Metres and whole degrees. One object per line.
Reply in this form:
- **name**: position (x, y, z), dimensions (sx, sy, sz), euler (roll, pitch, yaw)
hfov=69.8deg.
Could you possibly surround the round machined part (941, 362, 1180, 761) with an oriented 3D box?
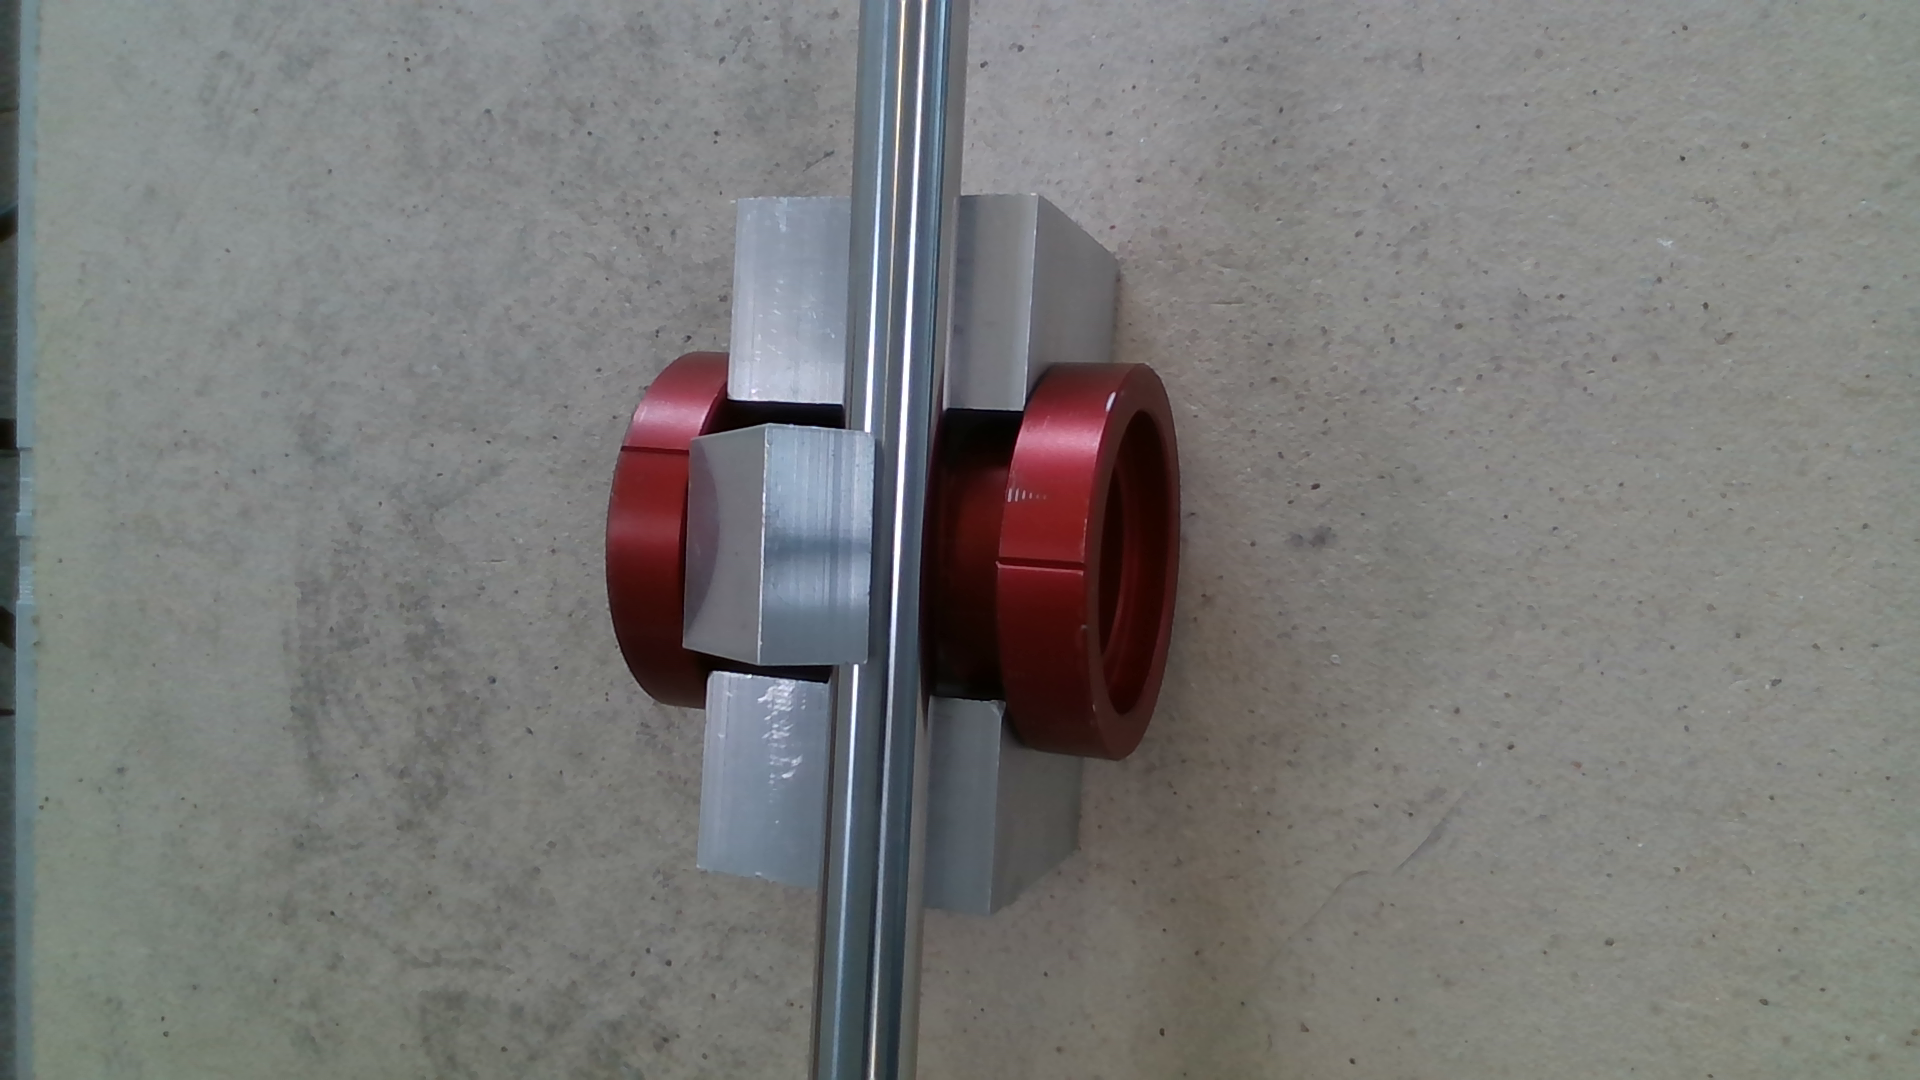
- **round machined part**: position (0.025, 0.004, 0.346), dimensions (0.042, 0.098, 0.098), euler (4, 92, 21)

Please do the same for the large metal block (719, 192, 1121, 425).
- **large metal block**: position (-0.007, -0.058, 0.367), dimensions (0.080, 0.080, 0.050), euler (5, 92, 20)

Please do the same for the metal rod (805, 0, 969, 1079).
- **metal rod**: position (-0.017, 0.004, 0.315), dimensions (0.025, 0.025, 0.300), euler (3, 92, 20)

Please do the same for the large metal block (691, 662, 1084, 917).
- **large metal block**: position (-0.015, 0.060, 0.371), dimensions (0.080, 0.080, 0.050), euler (4, 91, 20)

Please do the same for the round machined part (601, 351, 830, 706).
- **round machined part**: position (-0.054, -0.002, 0.375), dimensions (0.042, 0.098, 0.098), euler (5, 92, 15)

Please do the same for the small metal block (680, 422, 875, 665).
- **small metal block**: position (-0.042, 0.001, 0.310), dimensions (0.050, 0.025, 0.050), euler (1, 88, 61)
